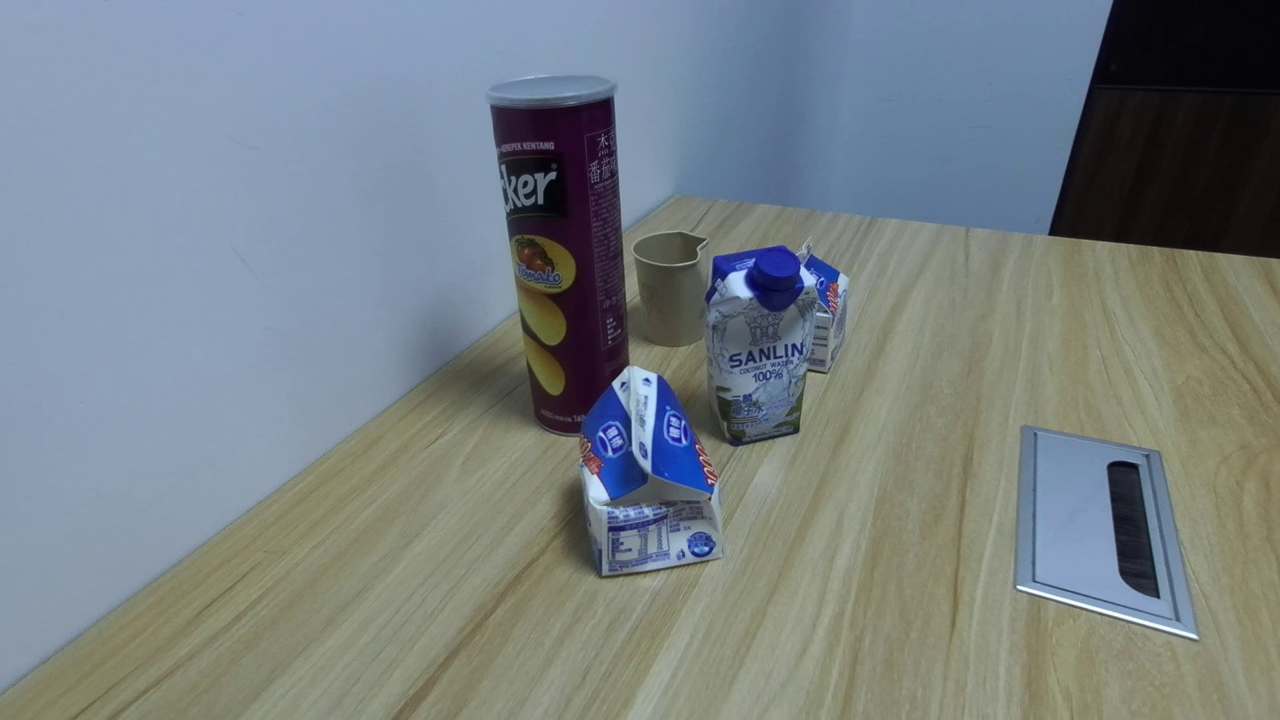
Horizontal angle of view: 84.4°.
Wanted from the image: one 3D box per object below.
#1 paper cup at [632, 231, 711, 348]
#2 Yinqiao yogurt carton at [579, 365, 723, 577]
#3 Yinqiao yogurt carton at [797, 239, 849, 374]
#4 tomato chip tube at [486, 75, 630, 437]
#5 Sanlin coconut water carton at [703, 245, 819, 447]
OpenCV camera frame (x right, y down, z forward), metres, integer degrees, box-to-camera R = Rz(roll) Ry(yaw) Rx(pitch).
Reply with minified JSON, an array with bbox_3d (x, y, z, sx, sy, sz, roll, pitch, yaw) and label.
[{"bbox_3d":[0.029,-0.059,0.612,0.069,0.081,0.073,-27,38,-35],"label":"paper cup"},{"bbox_3d":[0.004,0.058,0.407,0.077,0.093,0.083,-7,31,-7],"label":"Yinqiao yogurt carton"},{"bbox_3d":[0.130,-0.050,0.580,0.073,0.092,0.076,10,32,23],"label":"Yinqiao yogurt carton"},{"bbox_3d":[-0.047,-0.063,0.482,0.078,0.234,0.078,-2,31,2],"label":"tomato chip tube"},{"bbox_3d":[0.080,-0.013,0.474,0.078,0.142,0.057,-11,37,-13],"label":"Sanlin coconut water carton"}]
